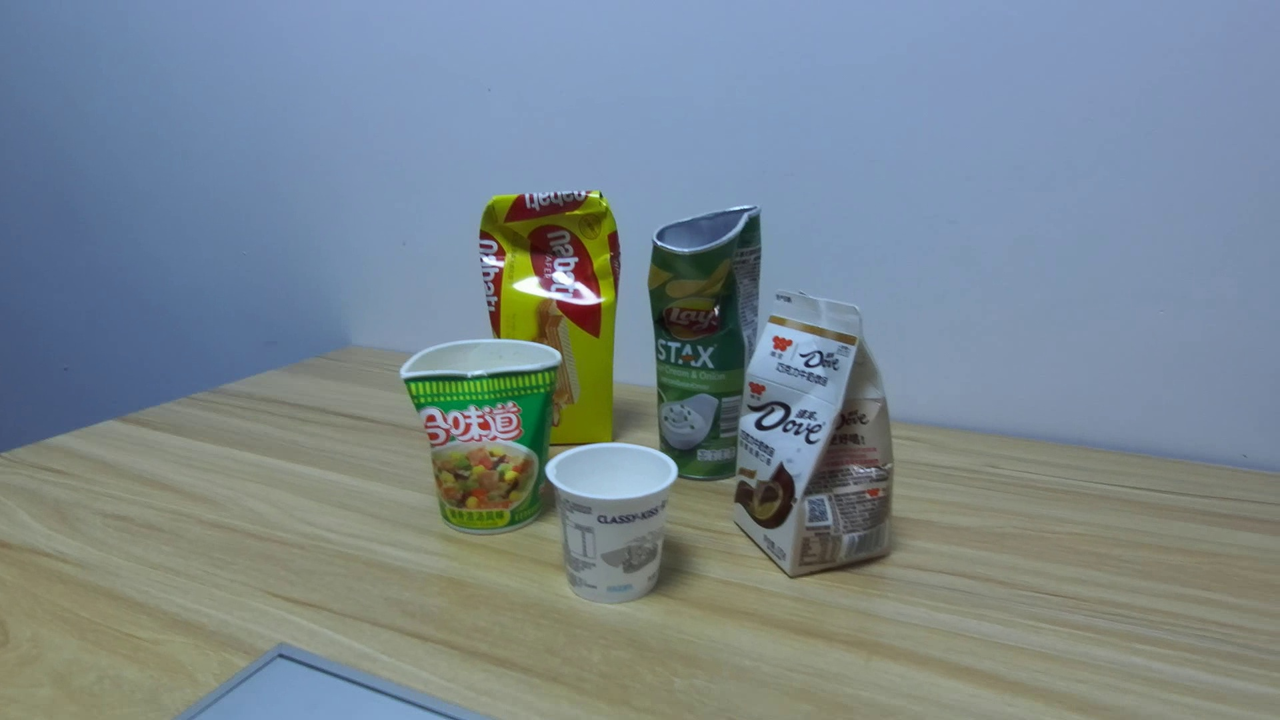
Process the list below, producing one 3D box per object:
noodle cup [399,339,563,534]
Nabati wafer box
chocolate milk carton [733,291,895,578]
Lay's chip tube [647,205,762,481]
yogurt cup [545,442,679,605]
[{"bbox_3d":[-0.097,0.049,0.469,0.093,0.109,0.087,2,16,8],"label":"noodle cup"},{"bbox_3d":[-0.069,-0.030,0.575,0.113,0.205,0.042,-3,14,-3],"label":"Nabati wafer box"},{"bbox_3d":[0.107,0.039,0.421,0.073,0.155,0.084,-6,18,-20],"label":"chocolate milk carton"},{"bbox_3d":[0.048,-0.007,0.515,0.079,0.199,0.071,1,23,7],"label":"Lay's chip tube"},{"bbox_3d":[-0.015,0.091,0.394,0.072,0.068,0.072,0,17,0],"label":"yogurt cup"}]
